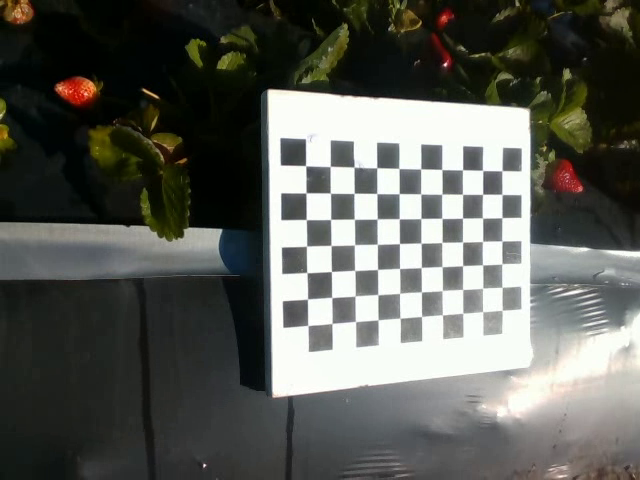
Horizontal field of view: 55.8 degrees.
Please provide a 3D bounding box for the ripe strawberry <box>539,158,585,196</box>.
[{"bbox_3d":[0.295,-0.073,0.722,0.055,0.048,0.029,45,-14,-15],"label":"ripe strawberry"}]
